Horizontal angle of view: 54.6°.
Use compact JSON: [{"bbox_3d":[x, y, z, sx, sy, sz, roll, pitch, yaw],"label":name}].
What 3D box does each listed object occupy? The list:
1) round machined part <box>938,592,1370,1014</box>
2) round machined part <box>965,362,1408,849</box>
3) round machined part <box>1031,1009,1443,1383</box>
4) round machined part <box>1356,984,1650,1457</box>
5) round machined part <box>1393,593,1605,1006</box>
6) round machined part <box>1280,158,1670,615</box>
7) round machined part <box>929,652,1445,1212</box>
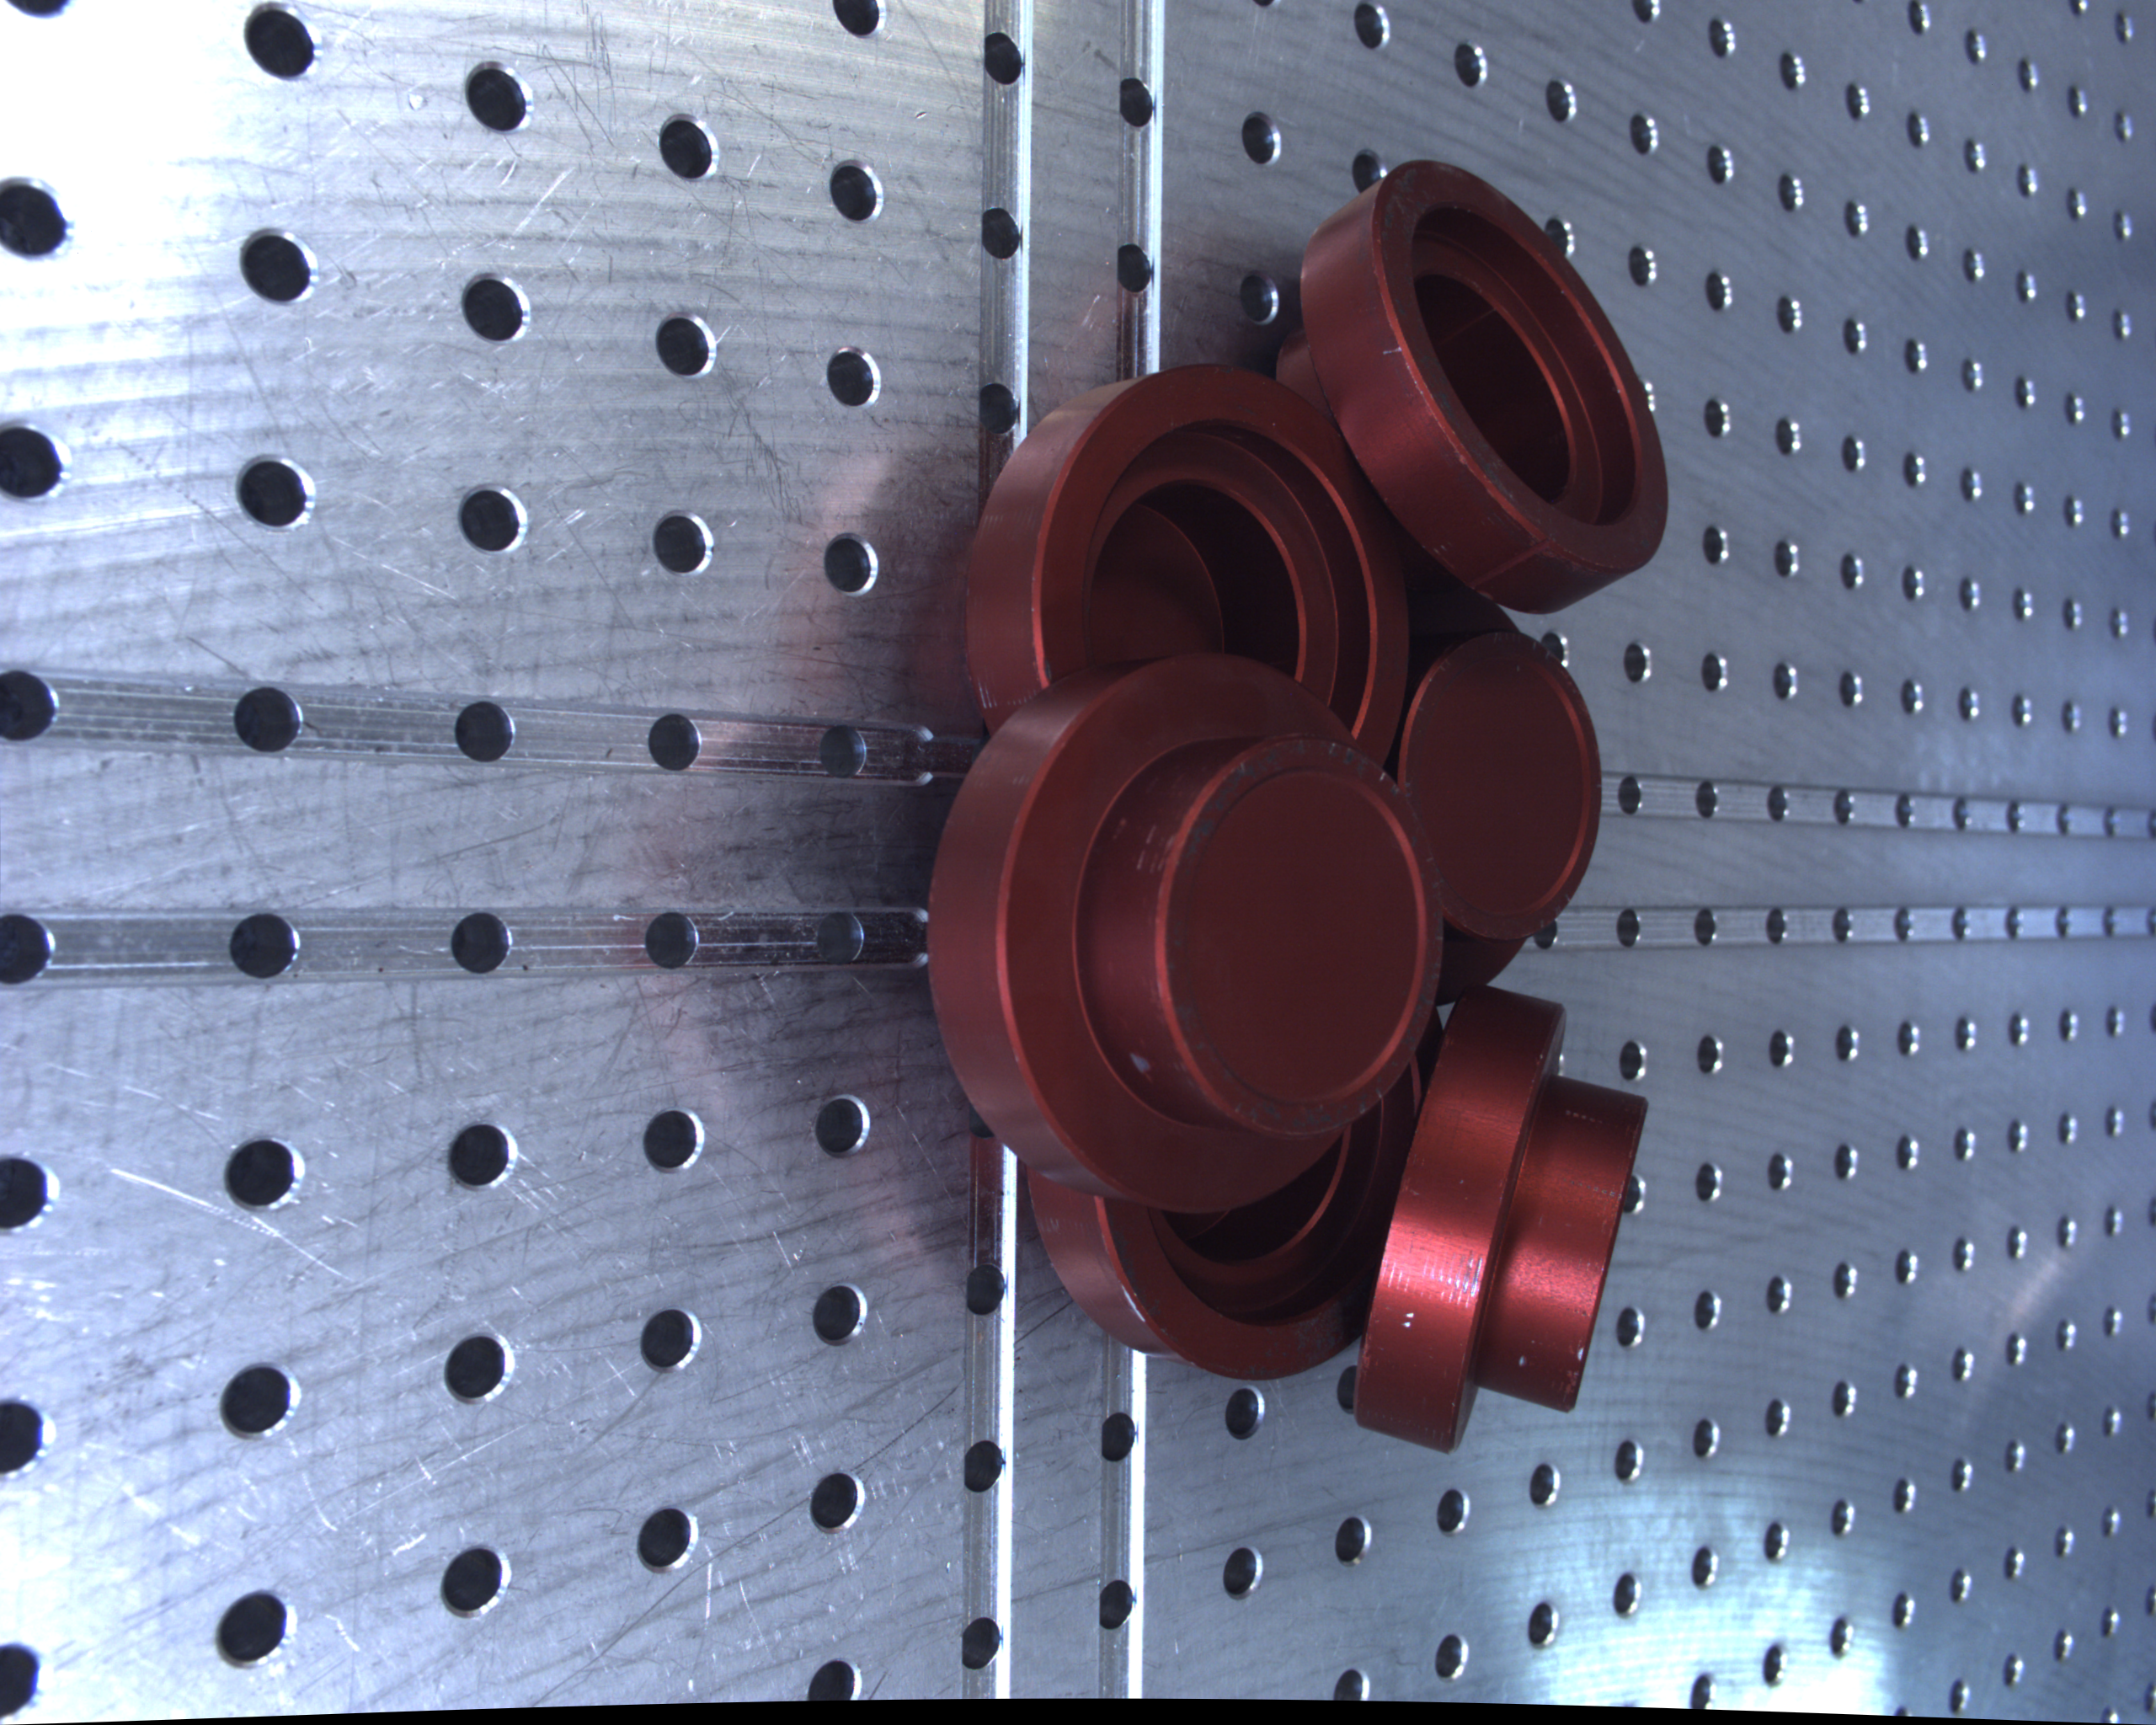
[{"bbox_3d":[0.012,-0.002,0.406,0.099,0.042,0.097,0,90,-40],"label":"round machined part"},{"bbox_3d":[0.017,-0.046,0.411,0.099,0.042,0.097,0,90,-40],"label":"round machined part"},{"bbox_3d":[0.028,0.052,0.420,0.099,0.042,0.097,0,90,-40],"label":"round machined part"},{"bbox_3d":[0.093,0.078,0.443,0.098,0.042,0.098,13,91,-73],"label":"round machined part"},{"bbox_3d":[0.079,-0.016,0.463,0.099,0.042,0.097,0,90,-40],"label":"round machined part"},{"bbox_3d":[0.082,-0.097,0.450,0.098,0.042,0.098,24,53,-36],"label":"round machined part"},{"bbox_3d":[0.026,0.012,0.364,0.099,0.042,0.097,0,90,-40],"label":"round machined part"}]
